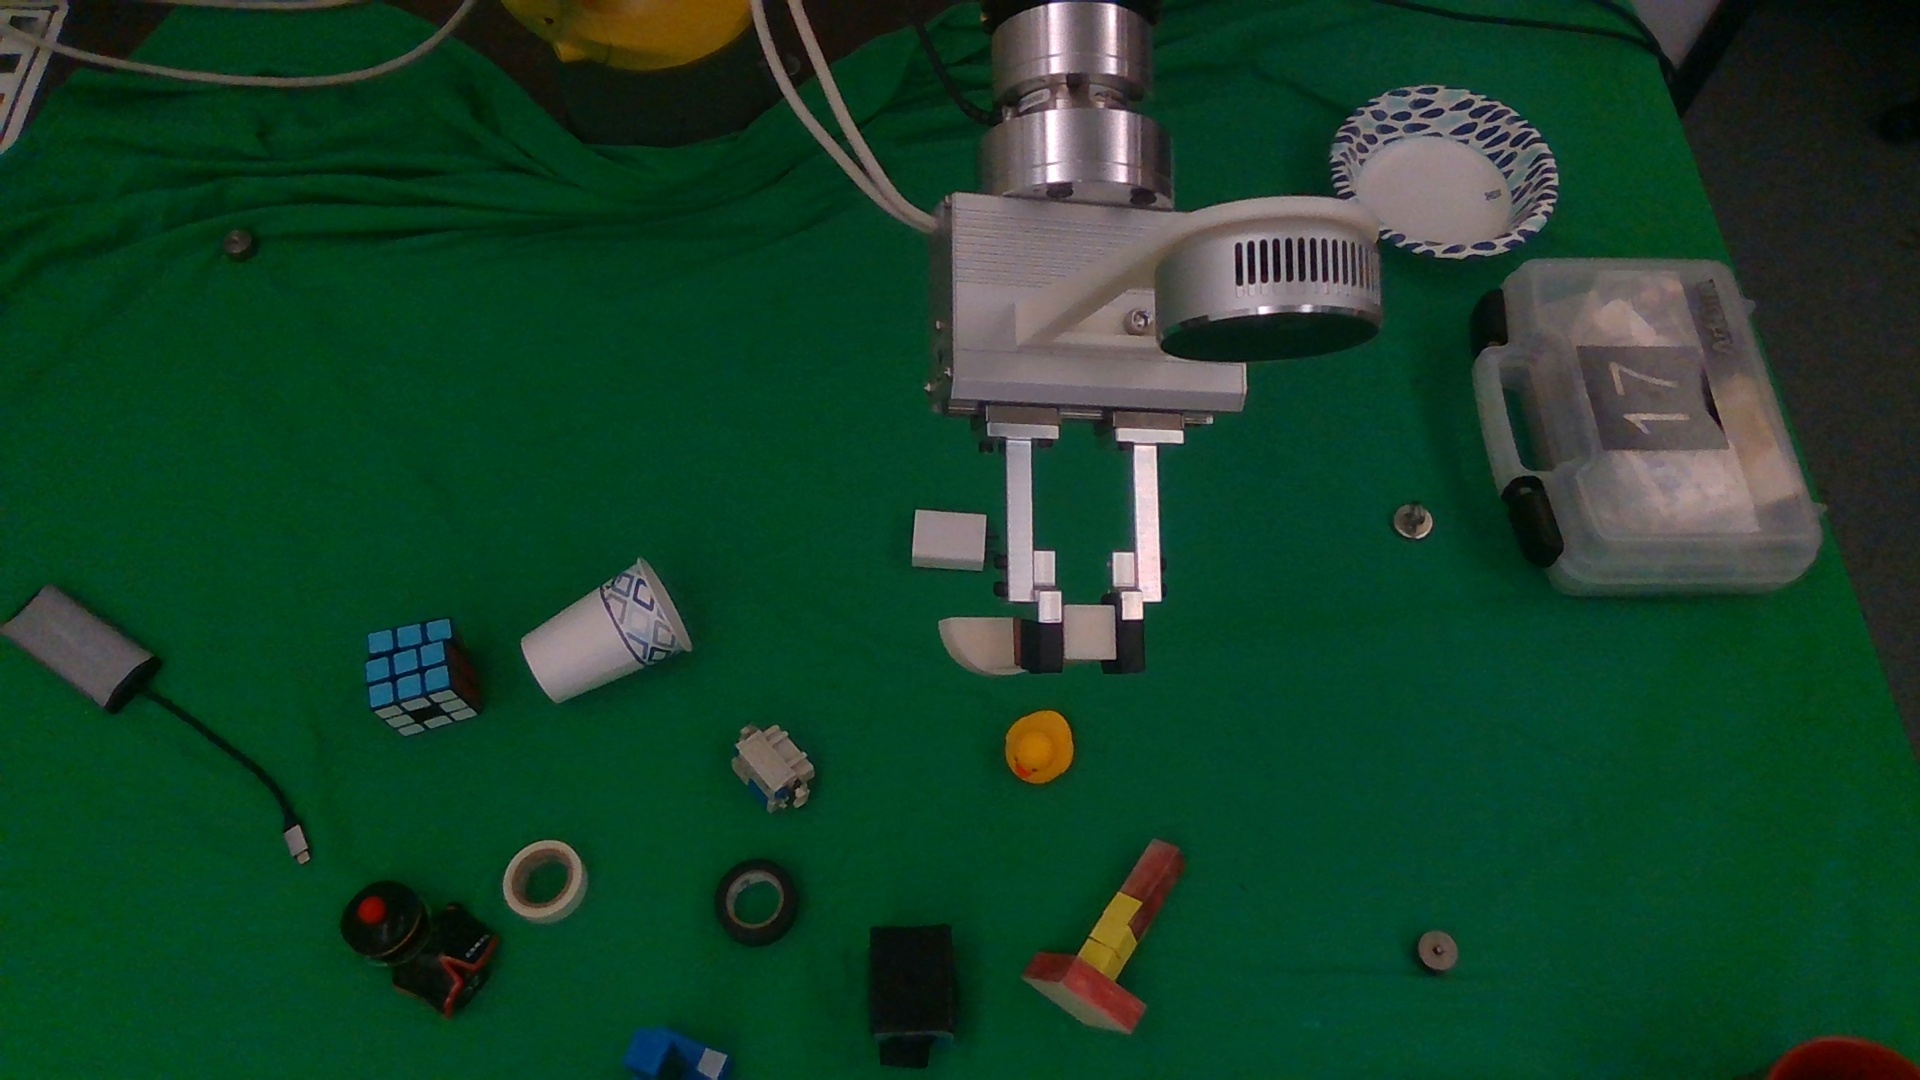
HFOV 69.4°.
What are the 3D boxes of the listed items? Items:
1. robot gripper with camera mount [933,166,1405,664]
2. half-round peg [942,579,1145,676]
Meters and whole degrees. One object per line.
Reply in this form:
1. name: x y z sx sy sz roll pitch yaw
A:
1. robot gripper with camera mount: 0.075 -0.044 0.440 0.119 0.194 0.158 1 83 -17
2. half-round peg: 0.036 0.034 0.552 0.054 0.122 0.031 -3 81 -19
